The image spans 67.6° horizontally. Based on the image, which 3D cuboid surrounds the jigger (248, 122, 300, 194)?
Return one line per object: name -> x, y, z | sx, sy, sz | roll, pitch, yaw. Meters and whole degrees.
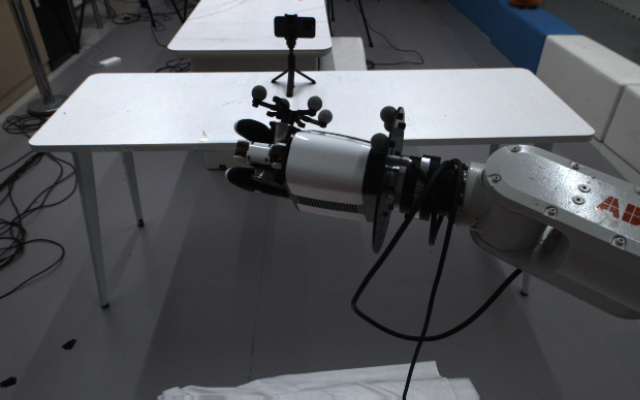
jigger -> -0.045, -0.051, 0.556 | 0.043, 0.071, 0.043 | 15, -7, 2
